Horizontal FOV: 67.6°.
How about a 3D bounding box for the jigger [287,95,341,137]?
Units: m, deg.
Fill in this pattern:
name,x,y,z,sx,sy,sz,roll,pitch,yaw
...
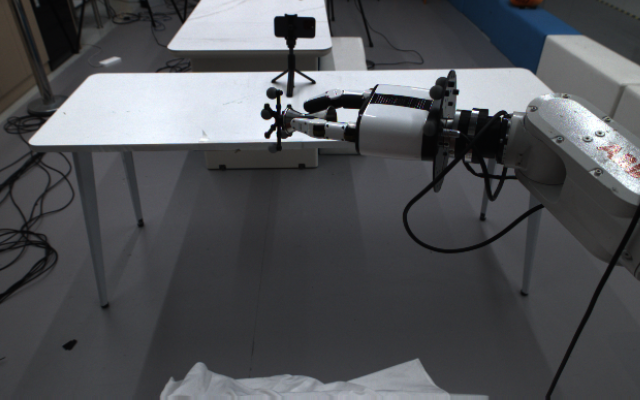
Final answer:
name,x,y,z,sx,sy,sz,roll,pitch,yaw
jigger,-0.008,-0.117,0.701,0.071,0.043,0.043,4,33,22
